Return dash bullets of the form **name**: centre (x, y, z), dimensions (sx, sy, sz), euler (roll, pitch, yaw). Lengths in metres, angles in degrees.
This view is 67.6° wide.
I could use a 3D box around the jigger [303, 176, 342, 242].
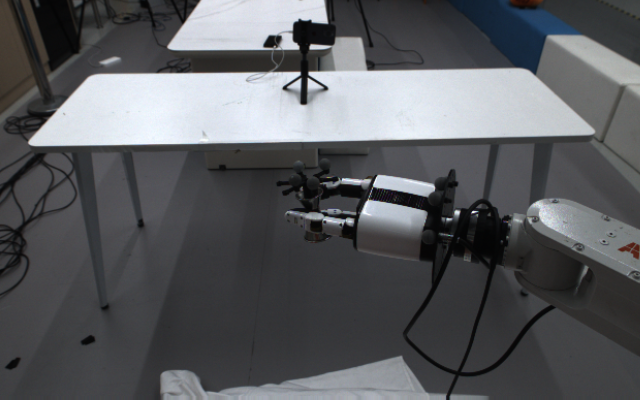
- **jigger**: centre (-0.007, 0.018, 0.688), dimensions (0.043, 0.071, 0.043), euler (-10, 23, 5)
